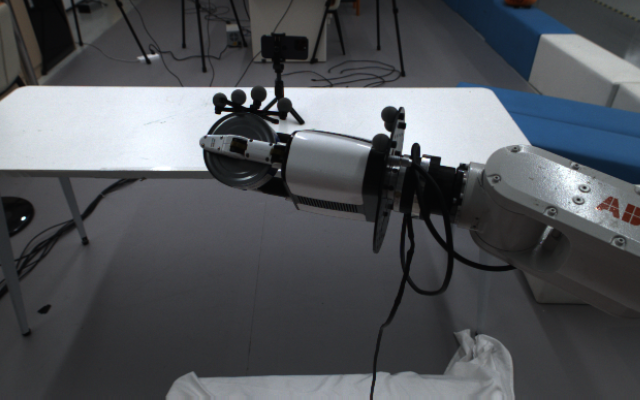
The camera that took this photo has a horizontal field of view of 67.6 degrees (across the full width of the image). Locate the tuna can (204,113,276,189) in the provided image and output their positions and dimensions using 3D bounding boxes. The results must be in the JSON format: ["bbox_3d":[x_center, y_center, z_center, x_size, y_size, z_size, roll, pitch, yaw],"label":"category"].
[{"bbox_3d":[-0.087,-0.056,0.557,0.085,0.085,0.034,11,-5,13],"label":"tuna can"}]
